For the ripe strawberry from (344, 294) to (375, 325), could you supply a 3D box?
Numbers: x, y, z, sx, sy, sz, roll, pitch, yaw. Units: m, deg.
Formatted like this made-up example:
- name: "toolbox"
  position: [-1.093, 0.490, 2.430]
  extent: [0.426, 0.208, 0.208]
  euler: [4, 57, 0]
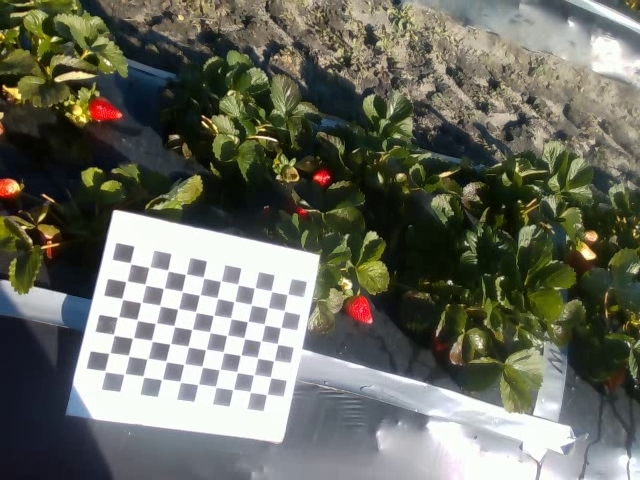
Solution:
- name: "ripe strawberry"
  position: [0.063, 0.114, 0.966]
  extent: [0.048, 0.055, 0.029]
  euler: [-35, 5, -16]

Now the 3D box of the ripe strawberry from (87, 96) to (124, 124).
- name: "ripe strawberry"
  position: [-0.364, -0.220, 1.051]
  extent: [0.064, 0.050, 0.052]
  euler: [18, -9, -4]
